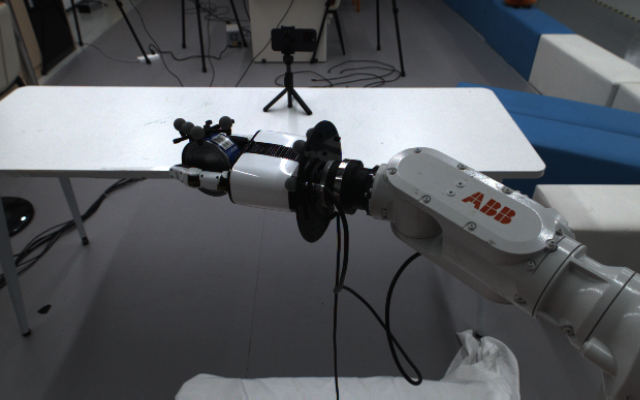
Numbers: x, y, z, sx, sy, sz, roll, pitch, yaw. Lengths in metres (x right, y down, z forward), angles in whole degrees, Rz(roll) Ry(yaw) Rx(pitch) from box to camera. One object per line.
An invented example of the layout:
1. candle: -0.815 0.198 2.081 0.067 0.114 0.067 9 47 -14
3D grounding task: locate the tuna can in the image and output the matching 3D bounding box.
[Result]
1. tuna can: -0.145 -0.050 0.672 0.085 0.085 0.034 17 35 20
